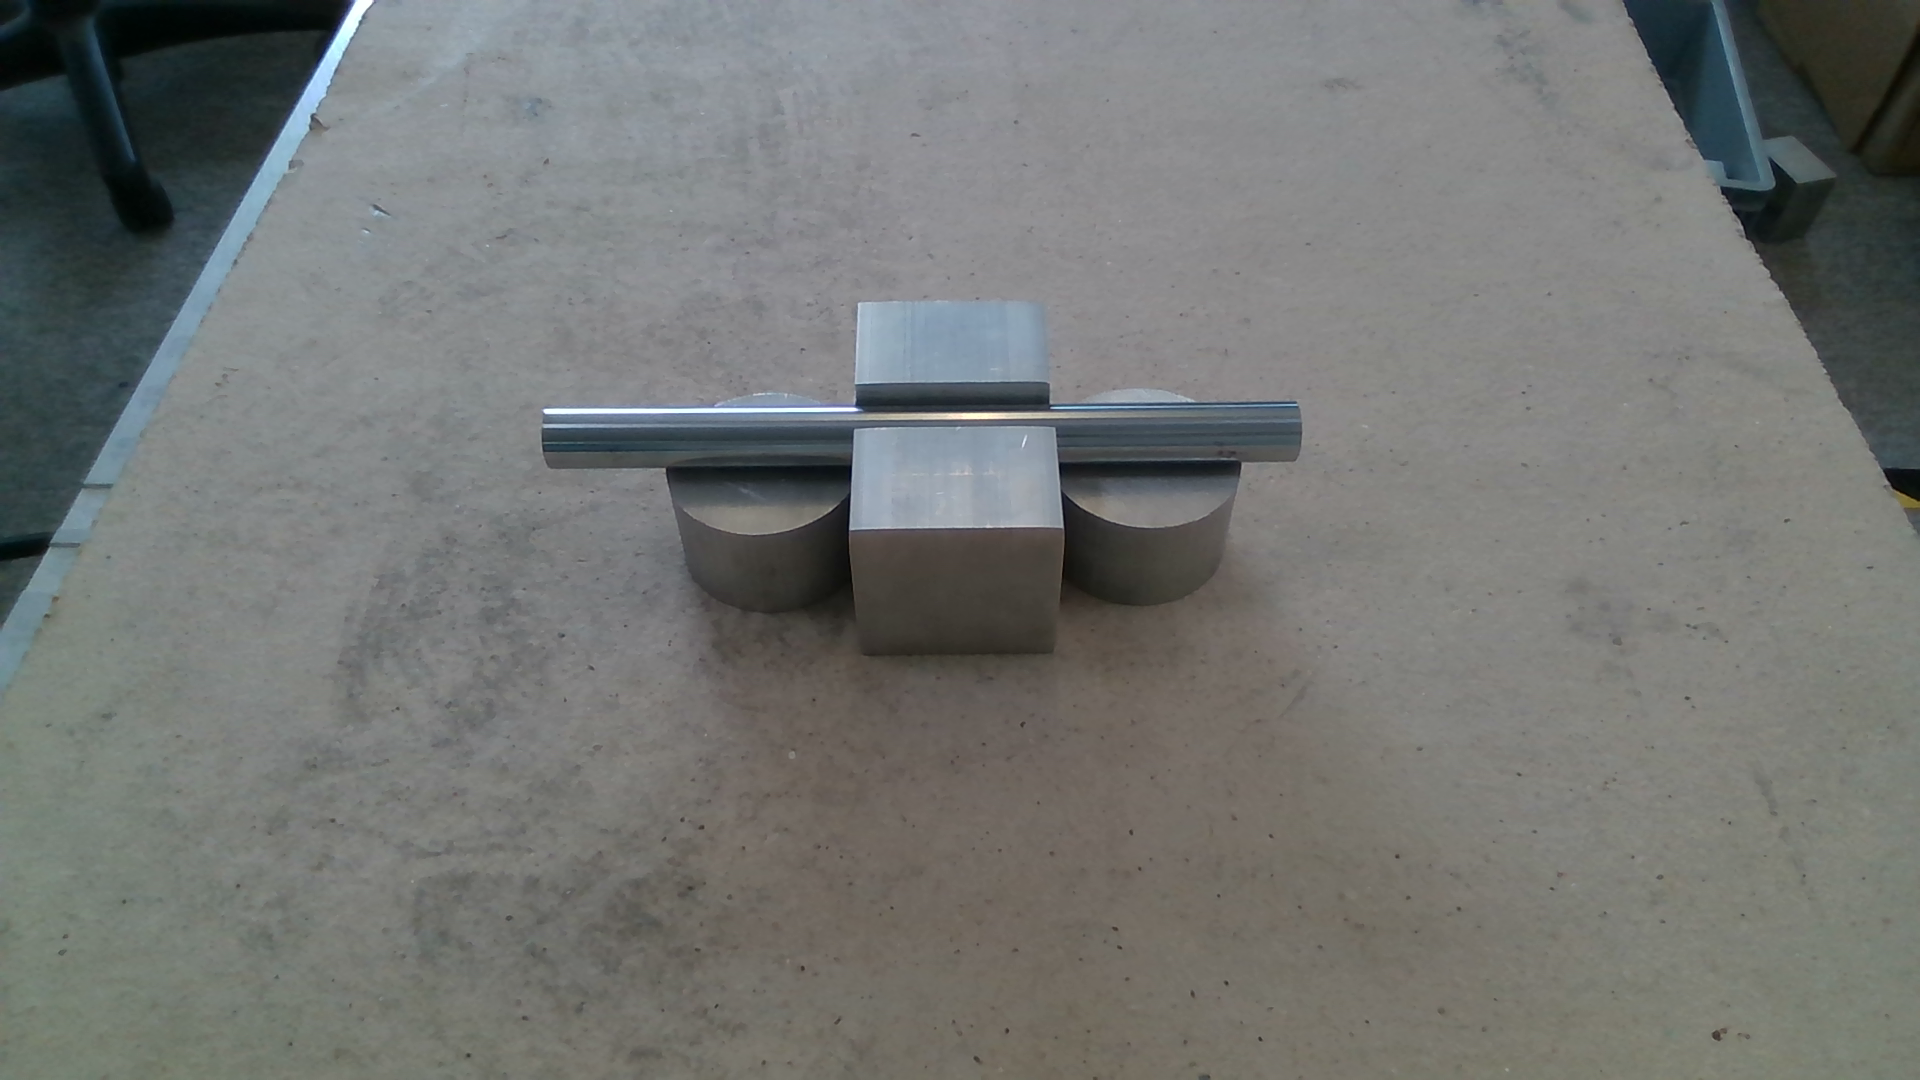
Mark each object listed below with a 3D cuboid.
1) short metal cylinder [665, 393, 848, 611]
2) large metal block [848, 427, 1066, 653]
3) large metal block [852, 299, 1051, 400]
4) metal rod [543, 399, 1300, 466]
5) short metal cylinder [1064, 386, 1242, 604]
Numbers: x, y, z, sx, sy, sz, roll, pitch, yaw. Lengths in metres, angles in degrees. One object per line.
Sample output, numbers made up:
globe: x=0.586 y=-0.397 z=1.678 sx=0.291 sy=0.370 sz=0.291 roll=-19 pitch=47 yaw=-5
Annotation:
short metal cylinder: x=-0.081 y=-0.017 z=0.586 sx=0.080 sy=0.050 sz=0.080 roll=0 pitch=50 yaw=0
large metal block: x=-0.002 y=0.001 z=0.551 sx=0.080 sy=0.080 sz=0.050 roll=-1 pitch=50 yaw=-1
large metal block: x=-0.004 y=-0.057 z=0.599 sx=0.080 sy=0.080 sz=0.050 roll=-1 pitch=50 yaw=-1
metal rod: x=-0.015 y=-0.044 z=0.558 sx=0.300 sy=0.025 sz=0.025 roll=0 pitch=50 yaw=-1
short metal cylinder: x=0.076 y=-0.020 z=0.588 sx=0.080 sy=0.050 sz=0.080 roll=0 pitch=50 yaw=0
